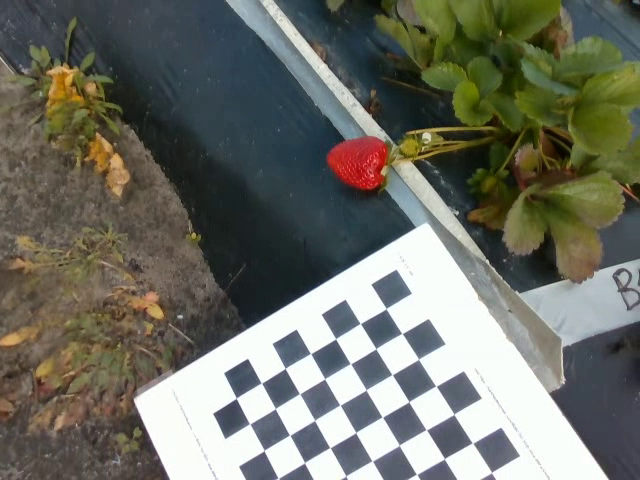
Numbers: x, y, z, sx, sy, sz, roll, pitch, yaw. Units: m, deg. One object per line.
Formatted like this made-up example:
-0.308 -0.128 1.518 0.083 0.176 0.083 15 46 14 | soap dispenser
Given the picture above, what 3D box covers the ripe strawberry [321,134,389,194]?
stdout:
0.029 -0.062 0.523 0.052 0.048 0.030 11 -14 -11 | ripe strawberry
